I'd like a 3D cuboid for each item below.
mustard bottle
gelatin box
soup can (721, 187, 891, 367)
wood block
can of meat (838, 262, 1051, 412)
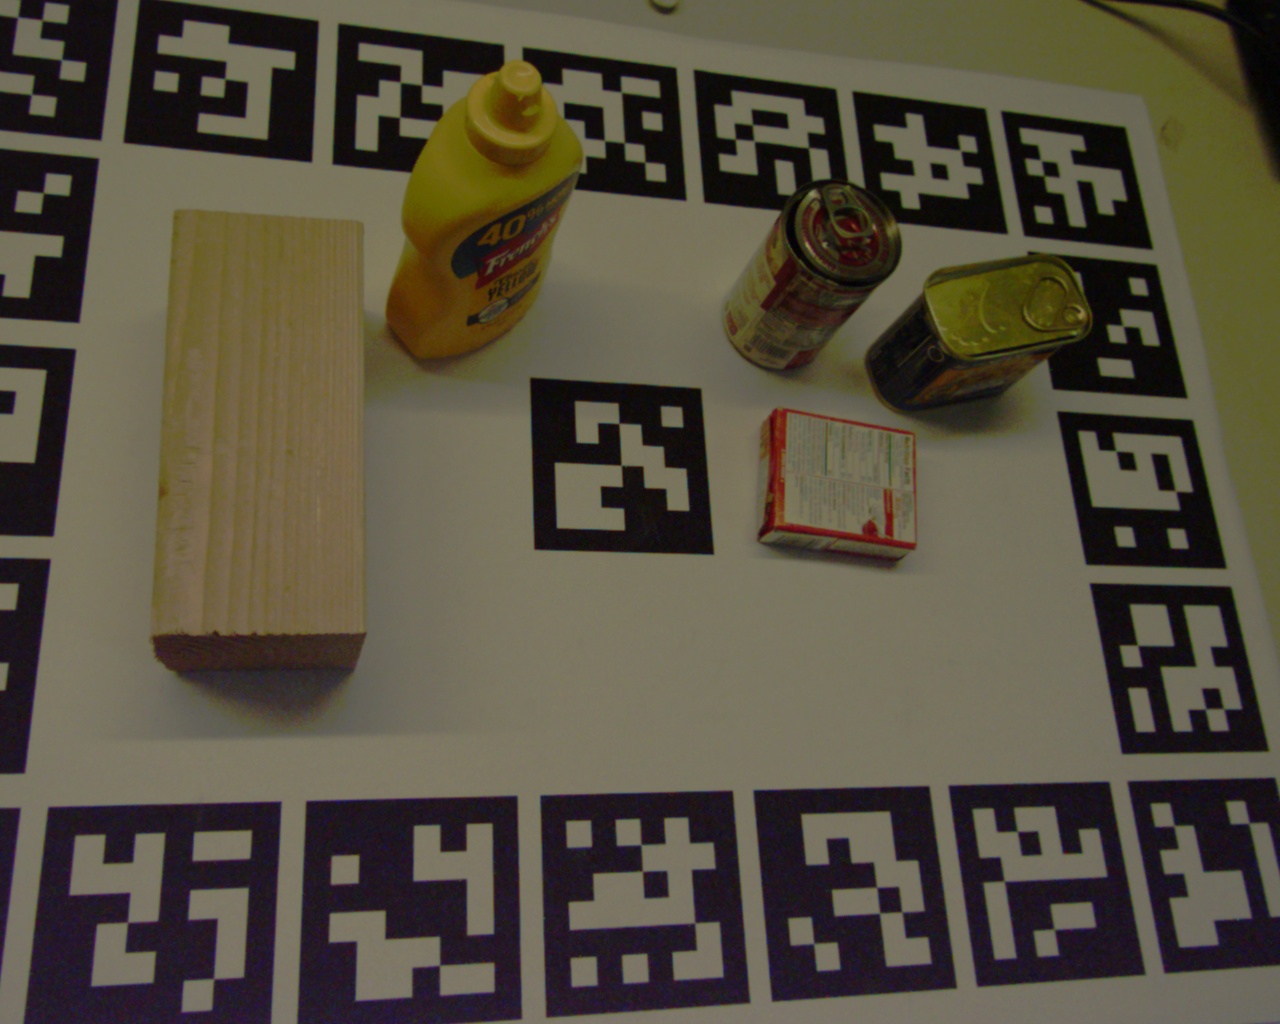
[{"bbox_3d":[-0.083,-0.143,0.597,0.095,0.192,0.058,-25,79,-23],"label":"mustard bottle"},{"bbox_3d":[0.111,-0.012,0.680,0.089,0.030,0.073,11,71,-8],"label":"gelatin box"},{"bbox_3d":[0.095,-0.136,0.675,0.067,0.102,0.068,4,72,-14],"label":"soup can"},{"bbox_3d":[-0.184,-0.031,0.583,0.090,0.090,0.207,3,67,-16],"label":"wood block"},{"bbox_3d":[0.185,-0.106,0.709,0.101,0.084,0.058,-12,76,-21],"label":"can of meat"}]
